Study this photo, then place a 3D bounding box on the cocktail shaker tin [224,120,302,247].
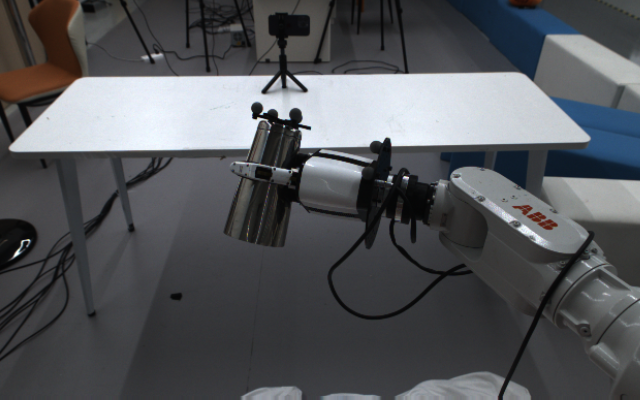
[{"bbox_3d":[-0.079,-0.025,0.713,0.093,0.170,0.093,14,2,0],"label":"cocktail shaker tin"}]
